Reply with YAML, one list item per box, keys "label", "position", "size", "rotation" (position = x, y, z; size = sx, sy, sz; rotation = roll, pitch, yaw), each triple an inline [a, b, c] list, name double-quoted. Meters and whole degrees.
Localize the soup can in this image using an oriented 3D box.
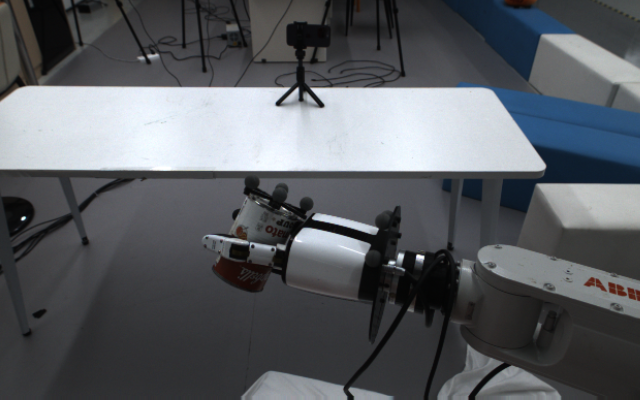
- label: "soup can"
  position: [-0.076, 0.051, 0.579]
  size: [0.067, 0.101, 0.067]
  rotation: [26, 6, -3]
